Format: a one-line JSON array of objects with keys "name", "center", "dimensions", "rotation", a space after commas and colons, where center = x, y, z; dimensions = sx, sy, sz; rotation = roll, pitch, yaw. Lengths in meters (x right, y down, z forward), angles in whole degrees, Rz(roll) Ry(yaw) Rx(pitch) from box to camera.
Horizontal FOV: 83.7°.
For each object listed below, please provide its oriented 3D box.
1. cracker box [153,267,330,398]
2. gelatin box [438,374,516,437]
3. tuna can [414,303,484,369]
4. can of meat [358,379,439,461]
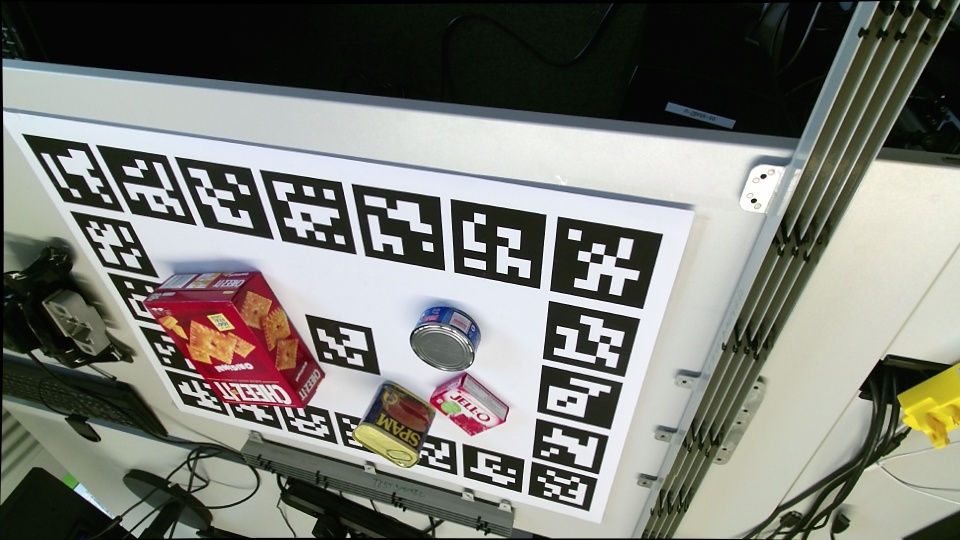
[{"name": "cracker box", "center": [-0.351, 0.098, 0.800], "dimensions": [0.164, 0.072, 0.214], "rotation": [-2, 129, 24]}, {"name": "gelatin box", "center": [-0.005, 0.197, 0.772], "dimensions": [0.089, 0.030, 0.073], "rotation": [44, 133, -13]}, {"name": "tuna can", "center": [-0.039, 0.084, 0.684], "dimensions": [0.086, 0.033, 0.086], "rotation": [9, 127, 12]}, {"name": "can of meat", "center": [-0.119, 0.225, 0.812], "dimensions": [0.102, 0.083, 0.058], "rotation": [32, 132, -9]}]
